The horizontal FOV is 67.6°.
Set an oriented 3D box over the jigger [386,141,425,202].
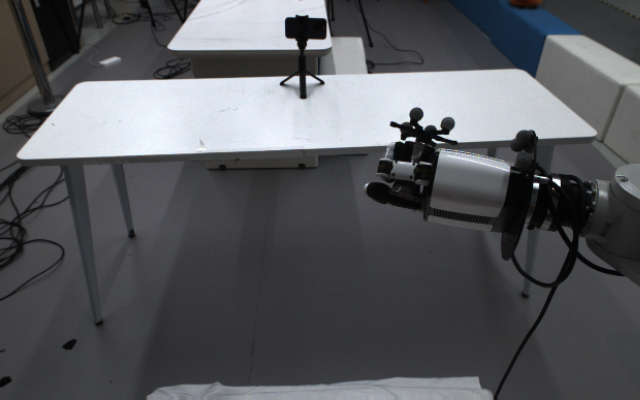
[{"bbox_3d":[0.118,-0.038,0.616,0.043,0.071,0.043,19,-6,2],"label":"jigger"}]
